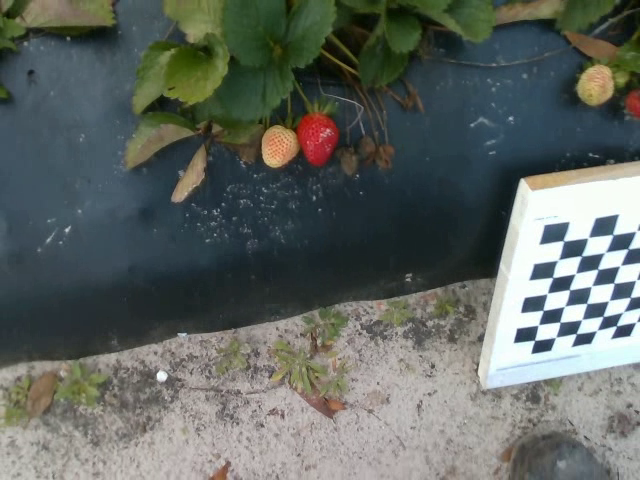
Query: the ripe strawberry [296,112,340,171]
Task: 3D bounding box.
[{"bbox_3d":[-0.002,-0.071,0.430,0.034,0.042,0.033,18,-27,-24],"label":"ripe strawberry"}]
